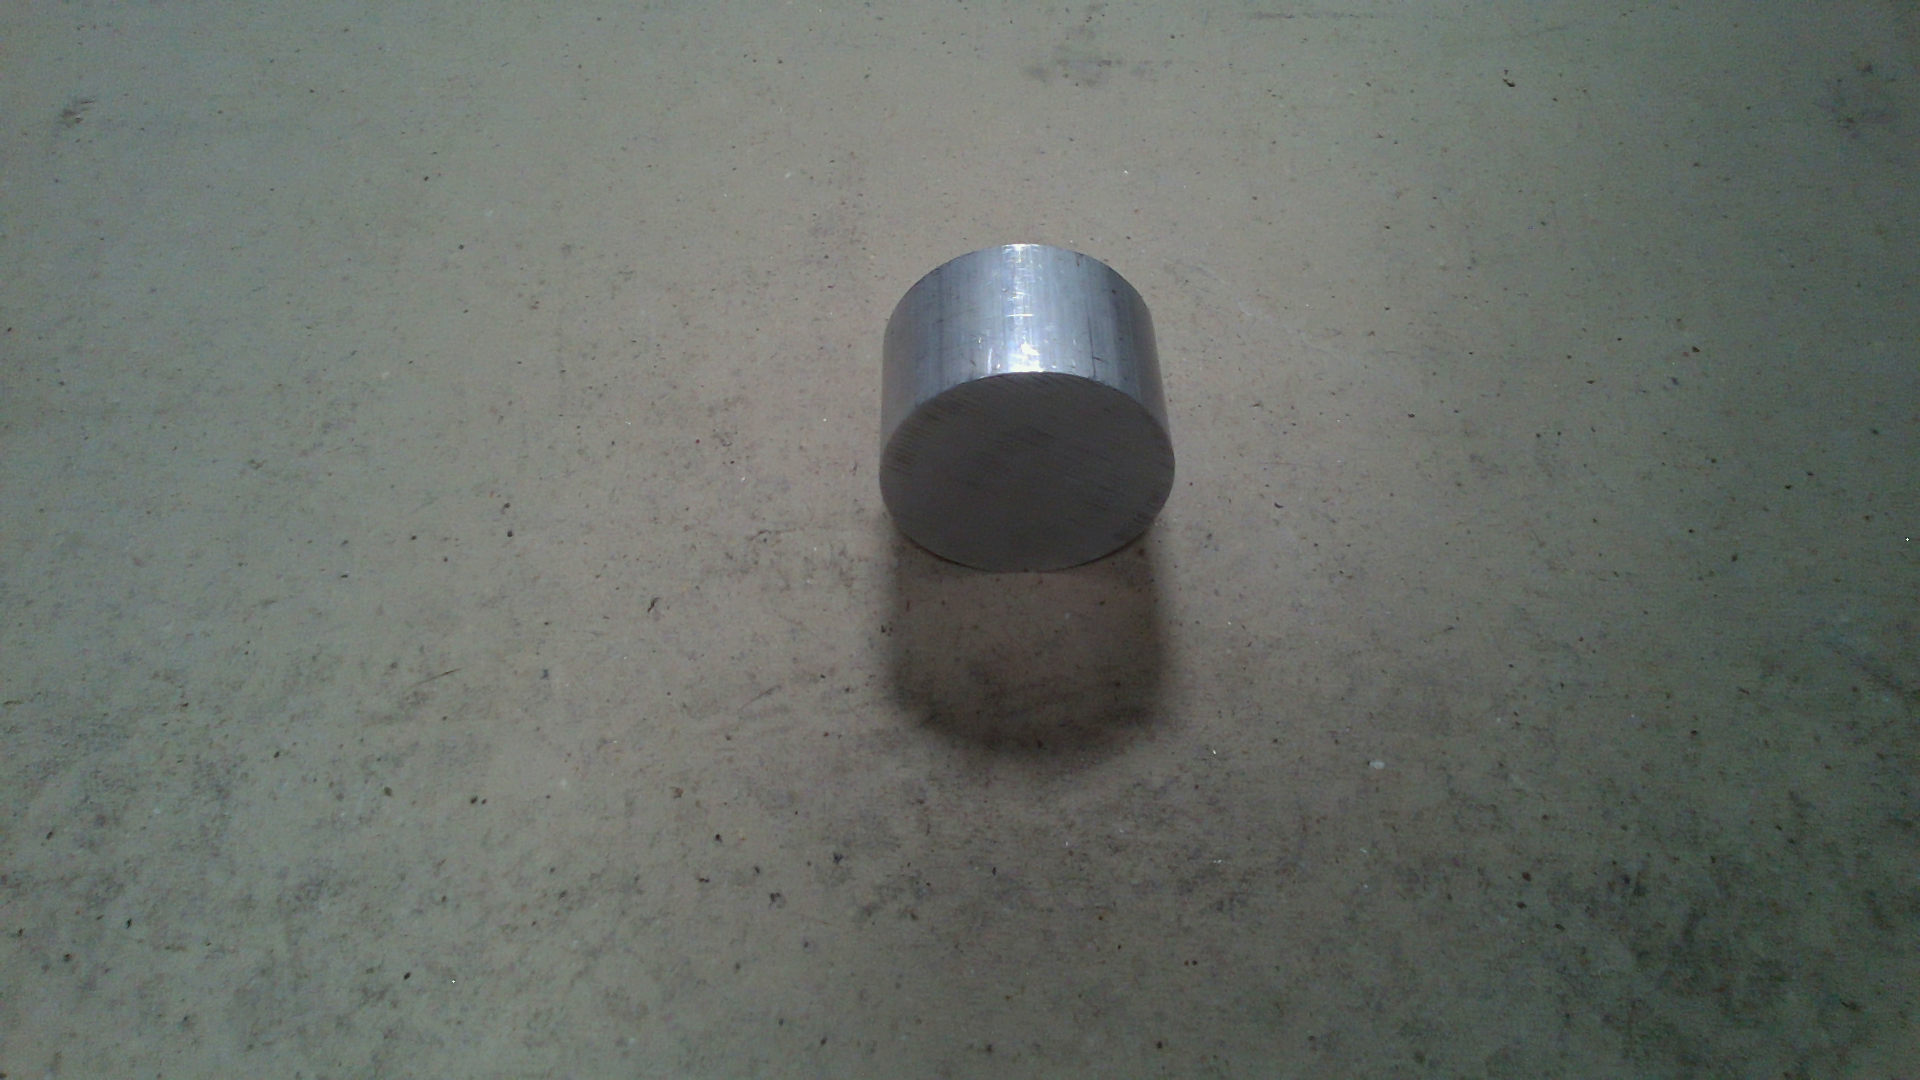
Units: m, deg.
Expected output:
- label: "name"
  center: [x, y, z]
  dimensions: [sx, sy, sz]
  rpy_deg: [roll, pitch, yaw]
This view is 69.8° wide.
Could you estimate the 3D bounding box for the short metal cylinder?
- label: "short metal cylinder"
  center: [0.018, -0.036, 0.386]
  dimensions: [0.080, 0.080, 0.050]
  rpy_deg: [-1, 50, -1]
